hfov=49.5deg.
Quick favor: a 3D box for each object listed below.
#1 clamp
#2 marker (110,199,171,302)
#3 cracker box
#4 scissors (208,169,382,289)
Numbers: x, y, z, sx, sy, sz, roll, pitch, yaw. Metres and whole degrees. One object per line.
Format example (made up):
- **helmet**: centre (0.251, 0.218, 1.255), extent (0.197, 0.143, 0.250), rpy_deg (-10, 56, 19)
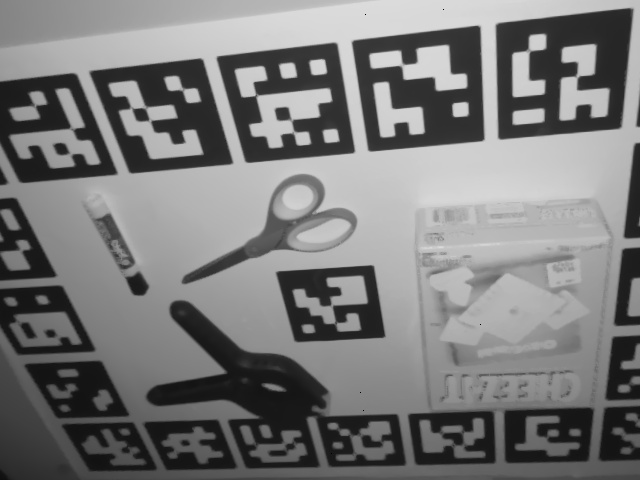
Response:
- **clamp**: centre (-0.051, 0.159, 0.785), extent (0.203, 0.037, 0.163), rpy_deg (20, 126, -8)
- **marker**: centre (-0.175, 0.014, 0.687), extent (0.019, 0.020, 0.120), rpy_deg (-8, 124, 11)
- **cracker box**: centre (0.205, 0.067, 0.659), extent (0.164, 0.073, 0.212), rpy_deg (-4, 125, 8)
- **scissors**: centre (-0.034, 0.006, 0.670), extent (0.200, 0.016, 0.088), rpy_deg (-30, 119, 26)
